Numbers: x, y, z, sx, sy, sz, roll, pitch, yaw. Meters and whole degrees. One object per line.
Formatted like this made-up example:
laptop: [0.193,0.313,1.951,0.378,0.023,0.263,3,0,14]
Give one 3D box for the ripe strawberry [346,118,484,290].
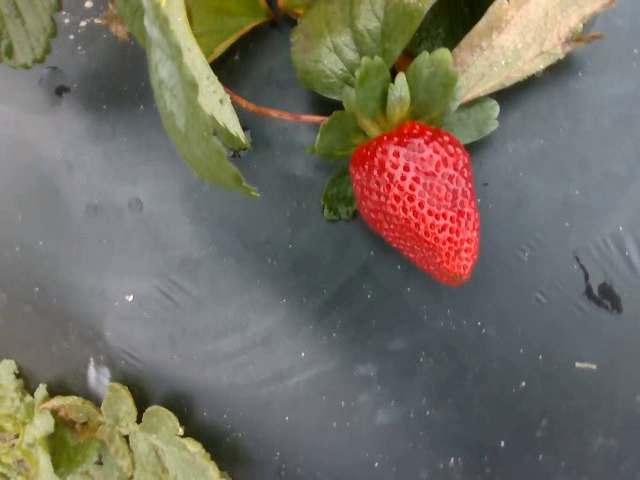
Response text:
ripe strawberry: [0.032,-0.010,0.201,0.049,0.064,0.046,-9,-26,-22]
